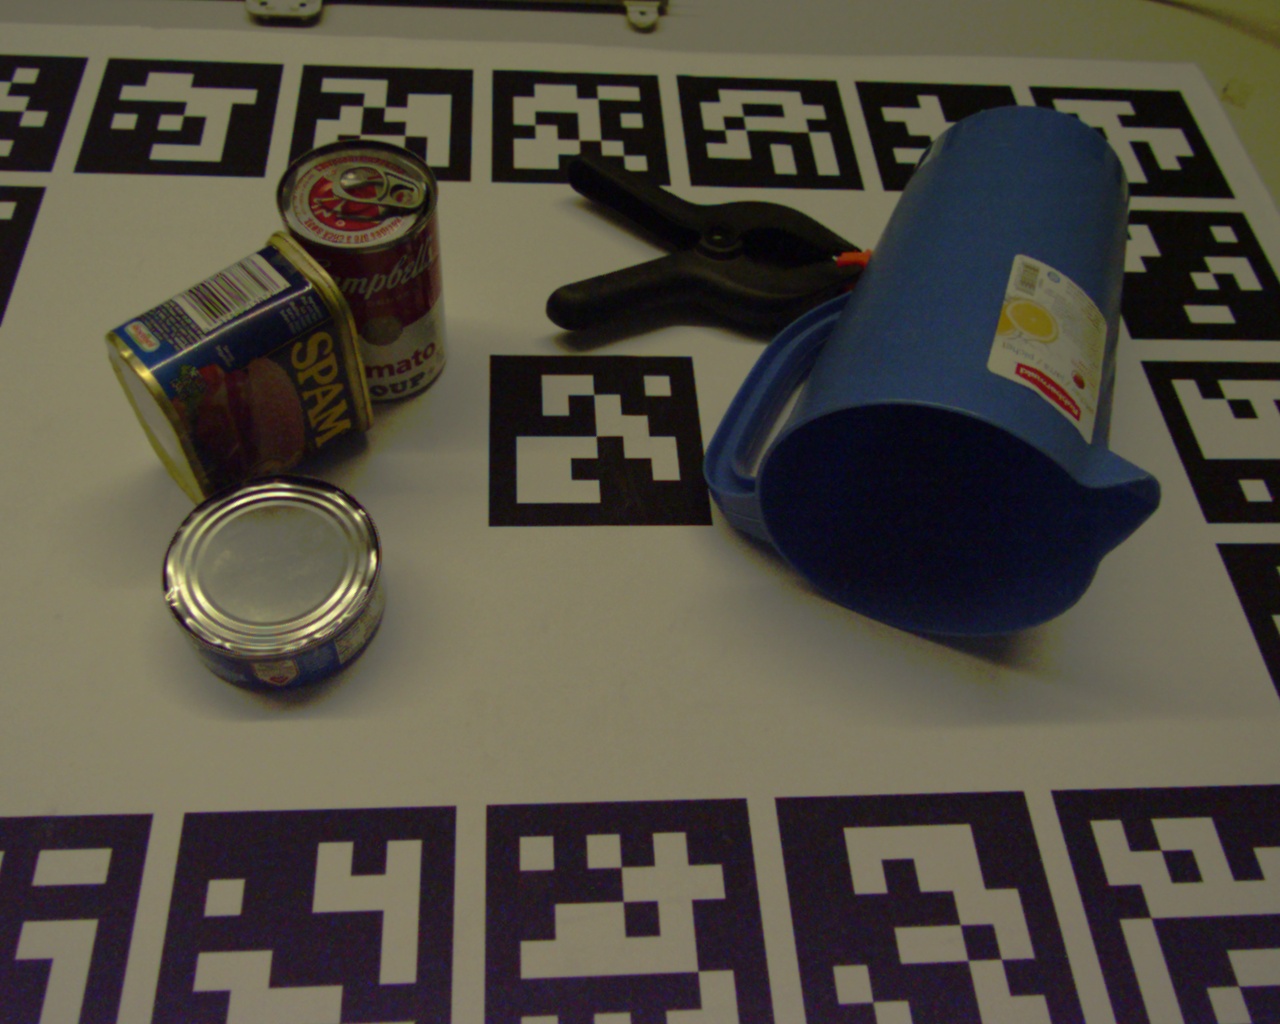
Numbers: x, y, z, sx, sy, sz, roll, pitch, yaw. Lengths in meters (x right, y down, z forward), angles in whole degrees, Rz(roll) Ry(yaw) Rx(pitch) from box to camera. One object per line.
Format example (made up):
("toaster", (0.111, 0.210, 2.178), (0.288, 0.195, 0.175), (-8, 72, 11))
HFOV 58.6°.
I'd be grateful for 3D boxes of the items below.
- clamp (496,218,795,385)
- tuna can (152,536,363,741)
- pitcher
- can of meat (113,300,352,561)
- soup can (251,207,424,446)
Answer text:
("clamp", (0.004, -0.115, 0.637), (0.164, 0.036, 0.122), (3, 52, -7))
("tuna can", (-0.165, 0.056, 0.500), (0.085, 0.033, 0.086), (2, 58, -4))
("pitcher", (0.129, -0.056, 0.536), (0.191, 0.132, 0.242), (4, 46, 24))
("can of meat", (-0.186, -0.032, 0.512), (0.083, 0.101, 0.058), (-34, 67, -20))
("soup can", (-0.144, -0.088, 0.557), (0.068, 0.102, 0.068), (1, 59, -2))
